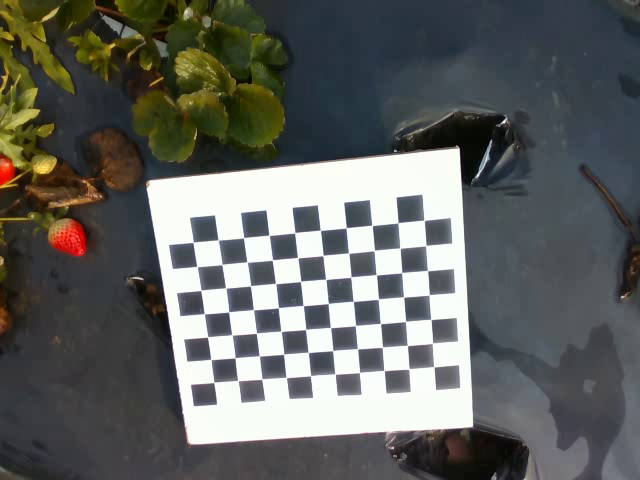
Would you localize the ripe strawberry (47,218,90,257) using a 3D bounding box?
[{"bbox_3d":[-0.234,0.000,0.592,0.035,0.043,0.029,-43,4,10],"label":"ripe strawberry"}]
